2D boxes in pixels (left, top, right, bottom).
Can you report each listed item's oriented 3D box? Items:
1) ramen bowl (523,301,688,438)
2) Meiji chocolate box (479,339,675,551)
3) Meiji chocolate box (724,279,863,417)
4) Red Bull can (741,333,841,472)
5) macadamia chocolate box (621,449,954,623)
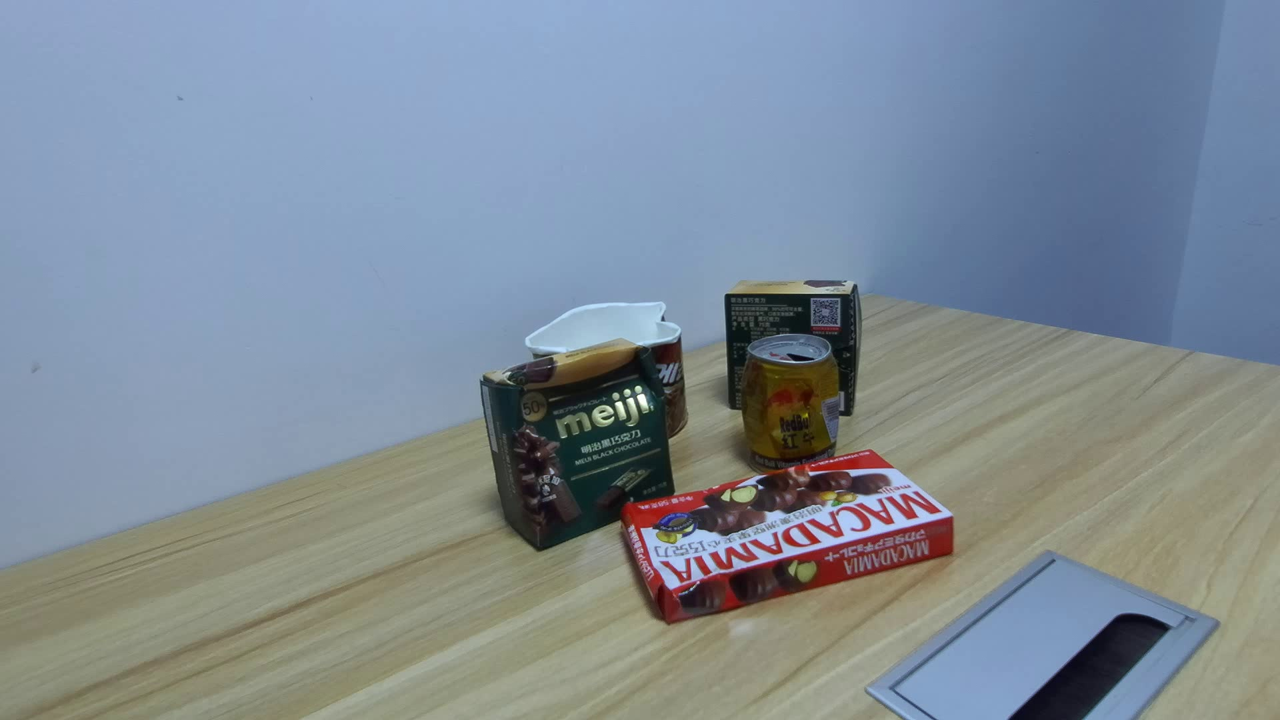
[{"bbox_3d":[-0.027,0.013,0.612,0.134,0.097,0.113,-8,21,-11],"label":"ramen bowl"},{"bbox_3d":[-0.039,0.052,0.485,0.118,0.117,0.051,-15,13,-25],"label":"Meiji chocolate box"},{"bbox_3d":[0.136,-0.014,0.622,0.113,0.111,0.058,2,21,21],"label":"Meiji chocolate box"},{"bbox_3d":[0.110,0.033,0.519,0.072,0.092,0.072,-4,21,2],"label":"Red Bull can"},{"bbox_3d":[0.085,0.102,0.434,0.183,0.028,0.105,-10,19,-11],"label":"macadamia chocolate box"}]
